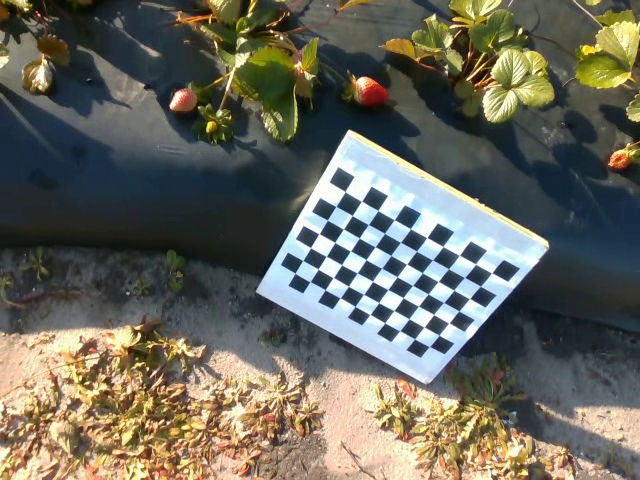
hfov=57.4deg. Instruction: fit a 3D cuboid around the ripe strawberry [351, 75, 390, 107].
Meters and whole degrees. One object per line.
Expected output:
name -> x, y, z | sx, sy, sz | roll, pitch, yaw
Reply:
ripe strawberry -> 0.073, -0.208, 0.805 | 0.063, 0.045, 0.044 | 13, 29, 3
